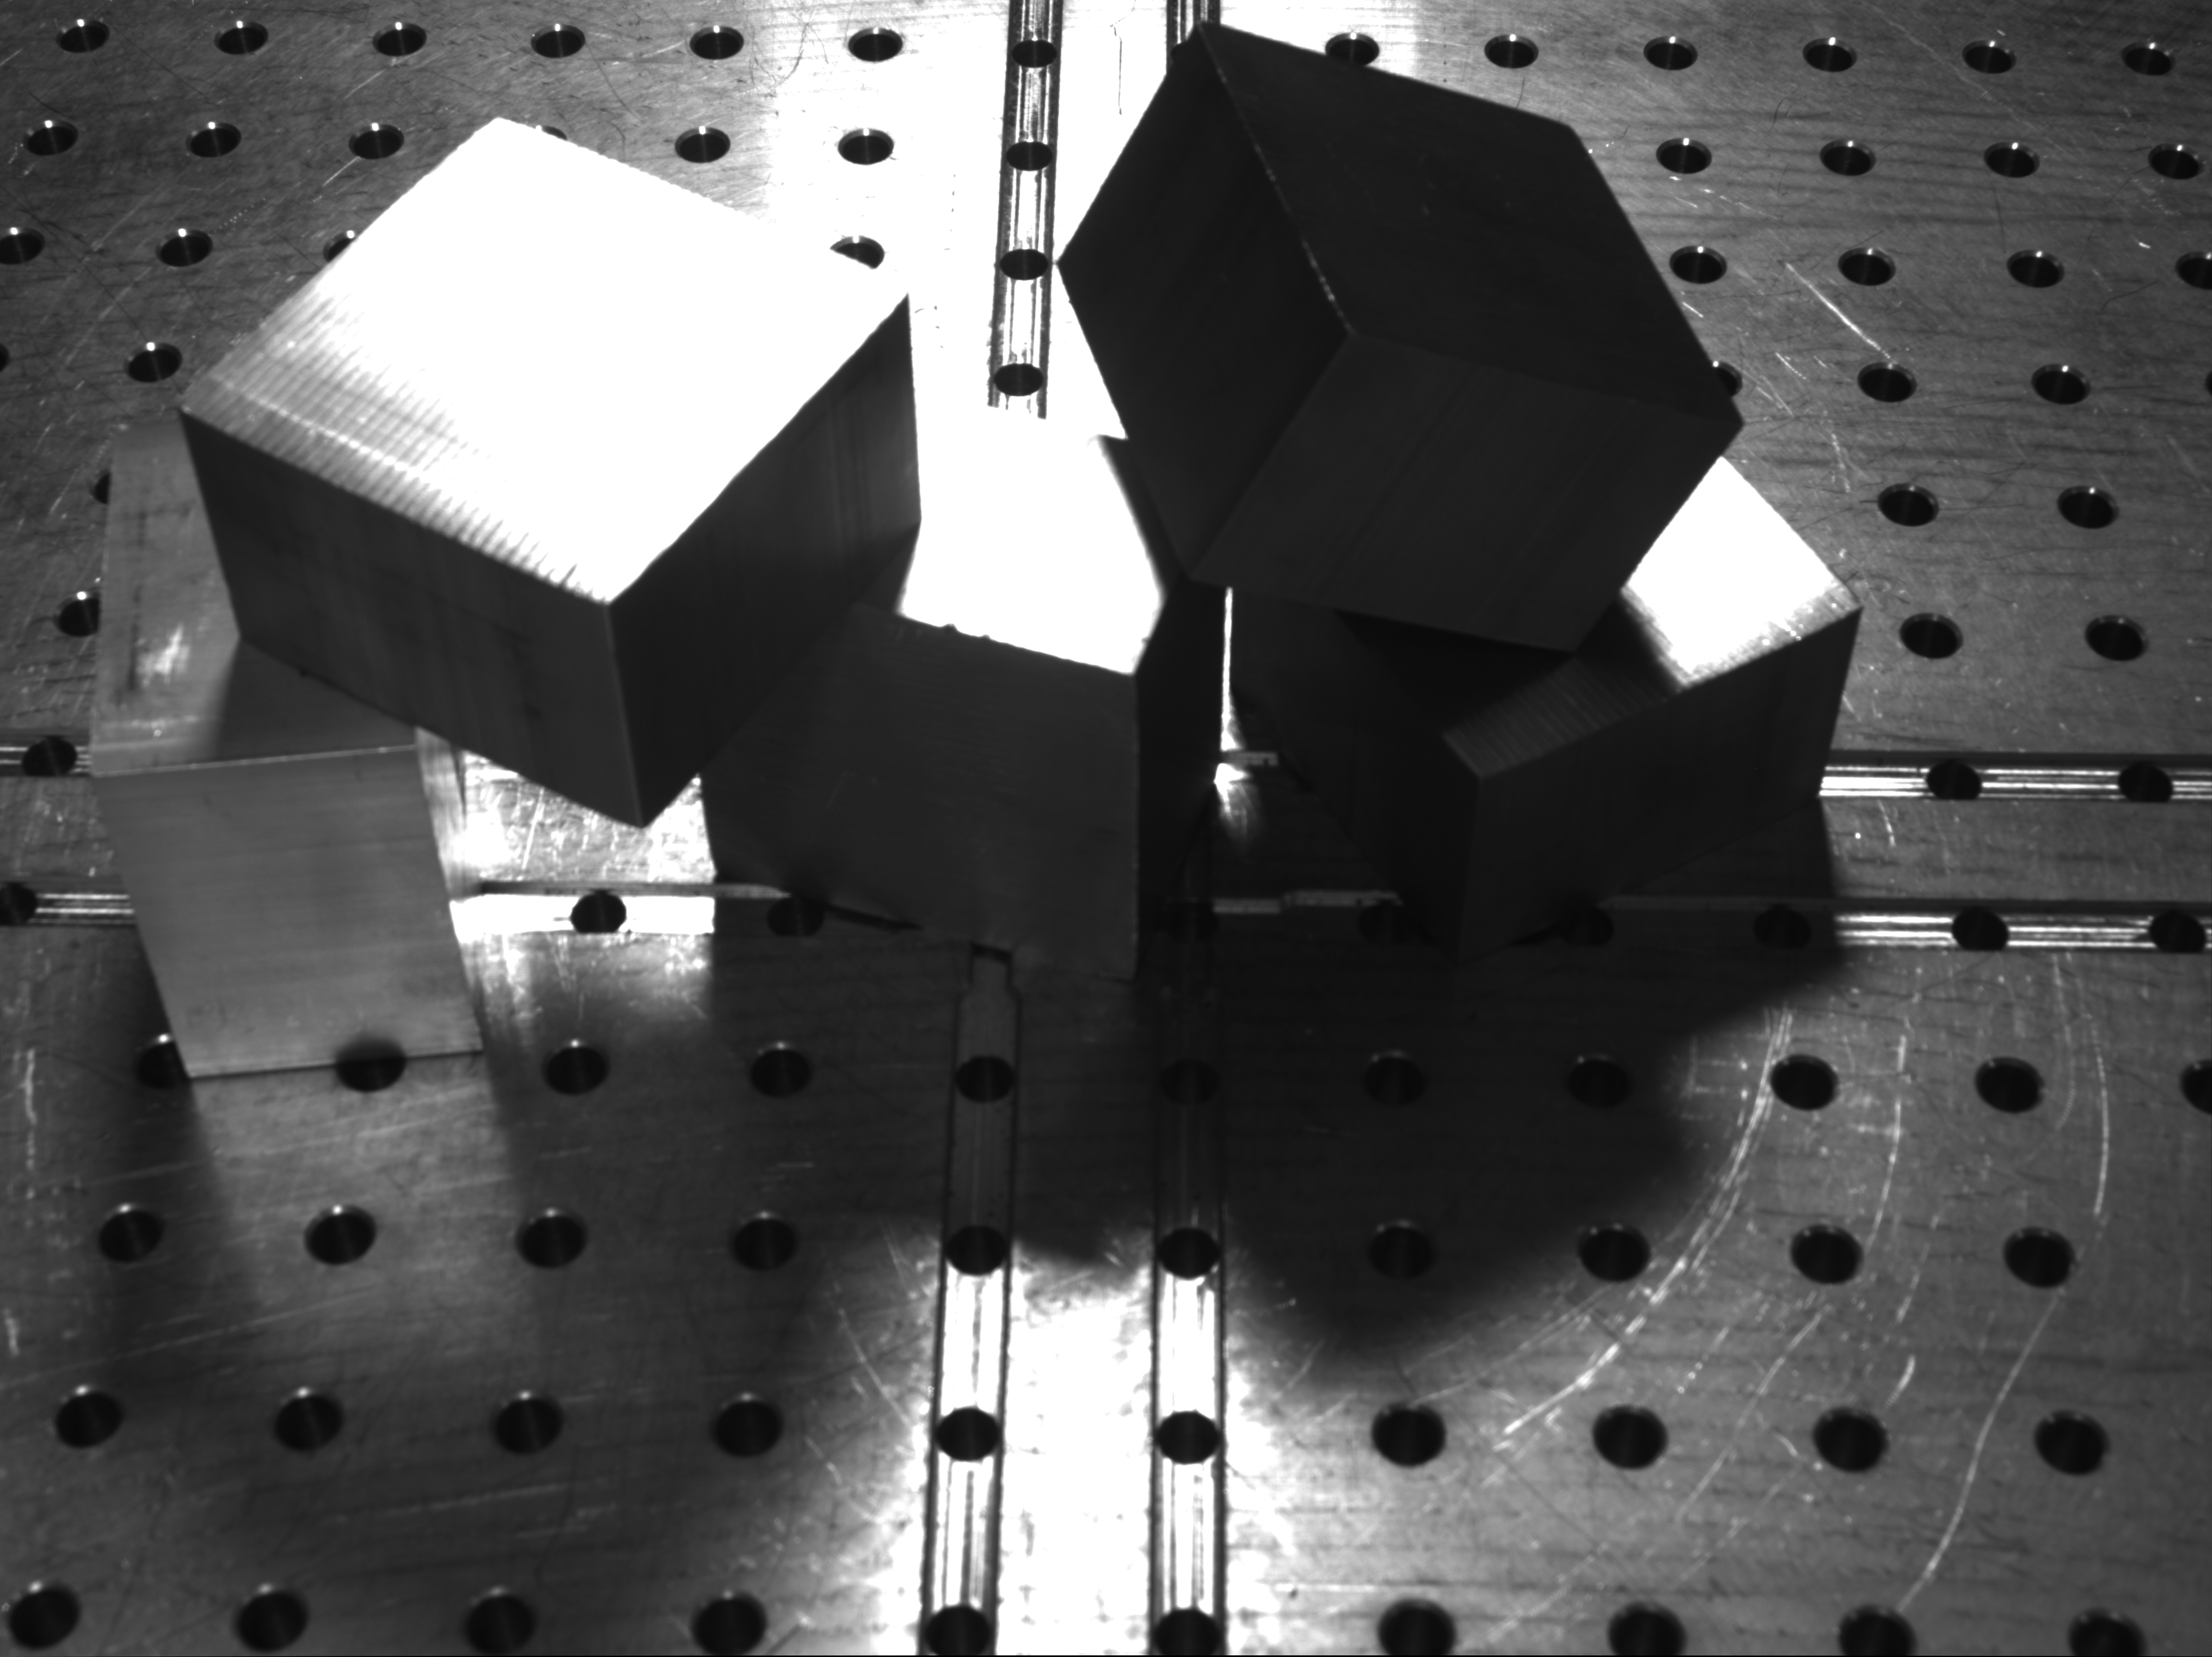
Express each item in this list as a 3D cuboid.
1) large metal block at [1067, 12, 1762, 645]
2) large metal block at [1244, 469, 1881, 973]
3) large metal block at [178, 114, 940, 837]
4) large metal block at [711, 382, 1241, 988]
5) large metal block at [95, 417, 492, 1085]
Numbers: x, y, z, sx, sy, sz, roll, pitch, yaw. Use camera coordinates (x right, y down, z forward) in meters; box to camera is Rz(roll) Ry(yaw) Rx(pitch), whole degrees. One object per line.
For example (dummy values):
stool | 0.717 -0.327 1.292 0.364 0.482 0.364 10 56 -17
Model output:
large metal block | 0.050 -0.082 0.609 0.080 0.050 0.080 9 43 -32
large metal block | 0.078 -0.033 0.656 0.080 0.050 0.080 -24 54 -19
large metal block | -0.082 -0.057 0.571 0.080 0.050 0.080 25 54 20
large metal block | -0.023 -0.026 0.630 0.080 0.080 0.050 15 51 12
large metal block | -0.135 -0.015 0.621 0.050 0.080 0.080 -5 50 -4
